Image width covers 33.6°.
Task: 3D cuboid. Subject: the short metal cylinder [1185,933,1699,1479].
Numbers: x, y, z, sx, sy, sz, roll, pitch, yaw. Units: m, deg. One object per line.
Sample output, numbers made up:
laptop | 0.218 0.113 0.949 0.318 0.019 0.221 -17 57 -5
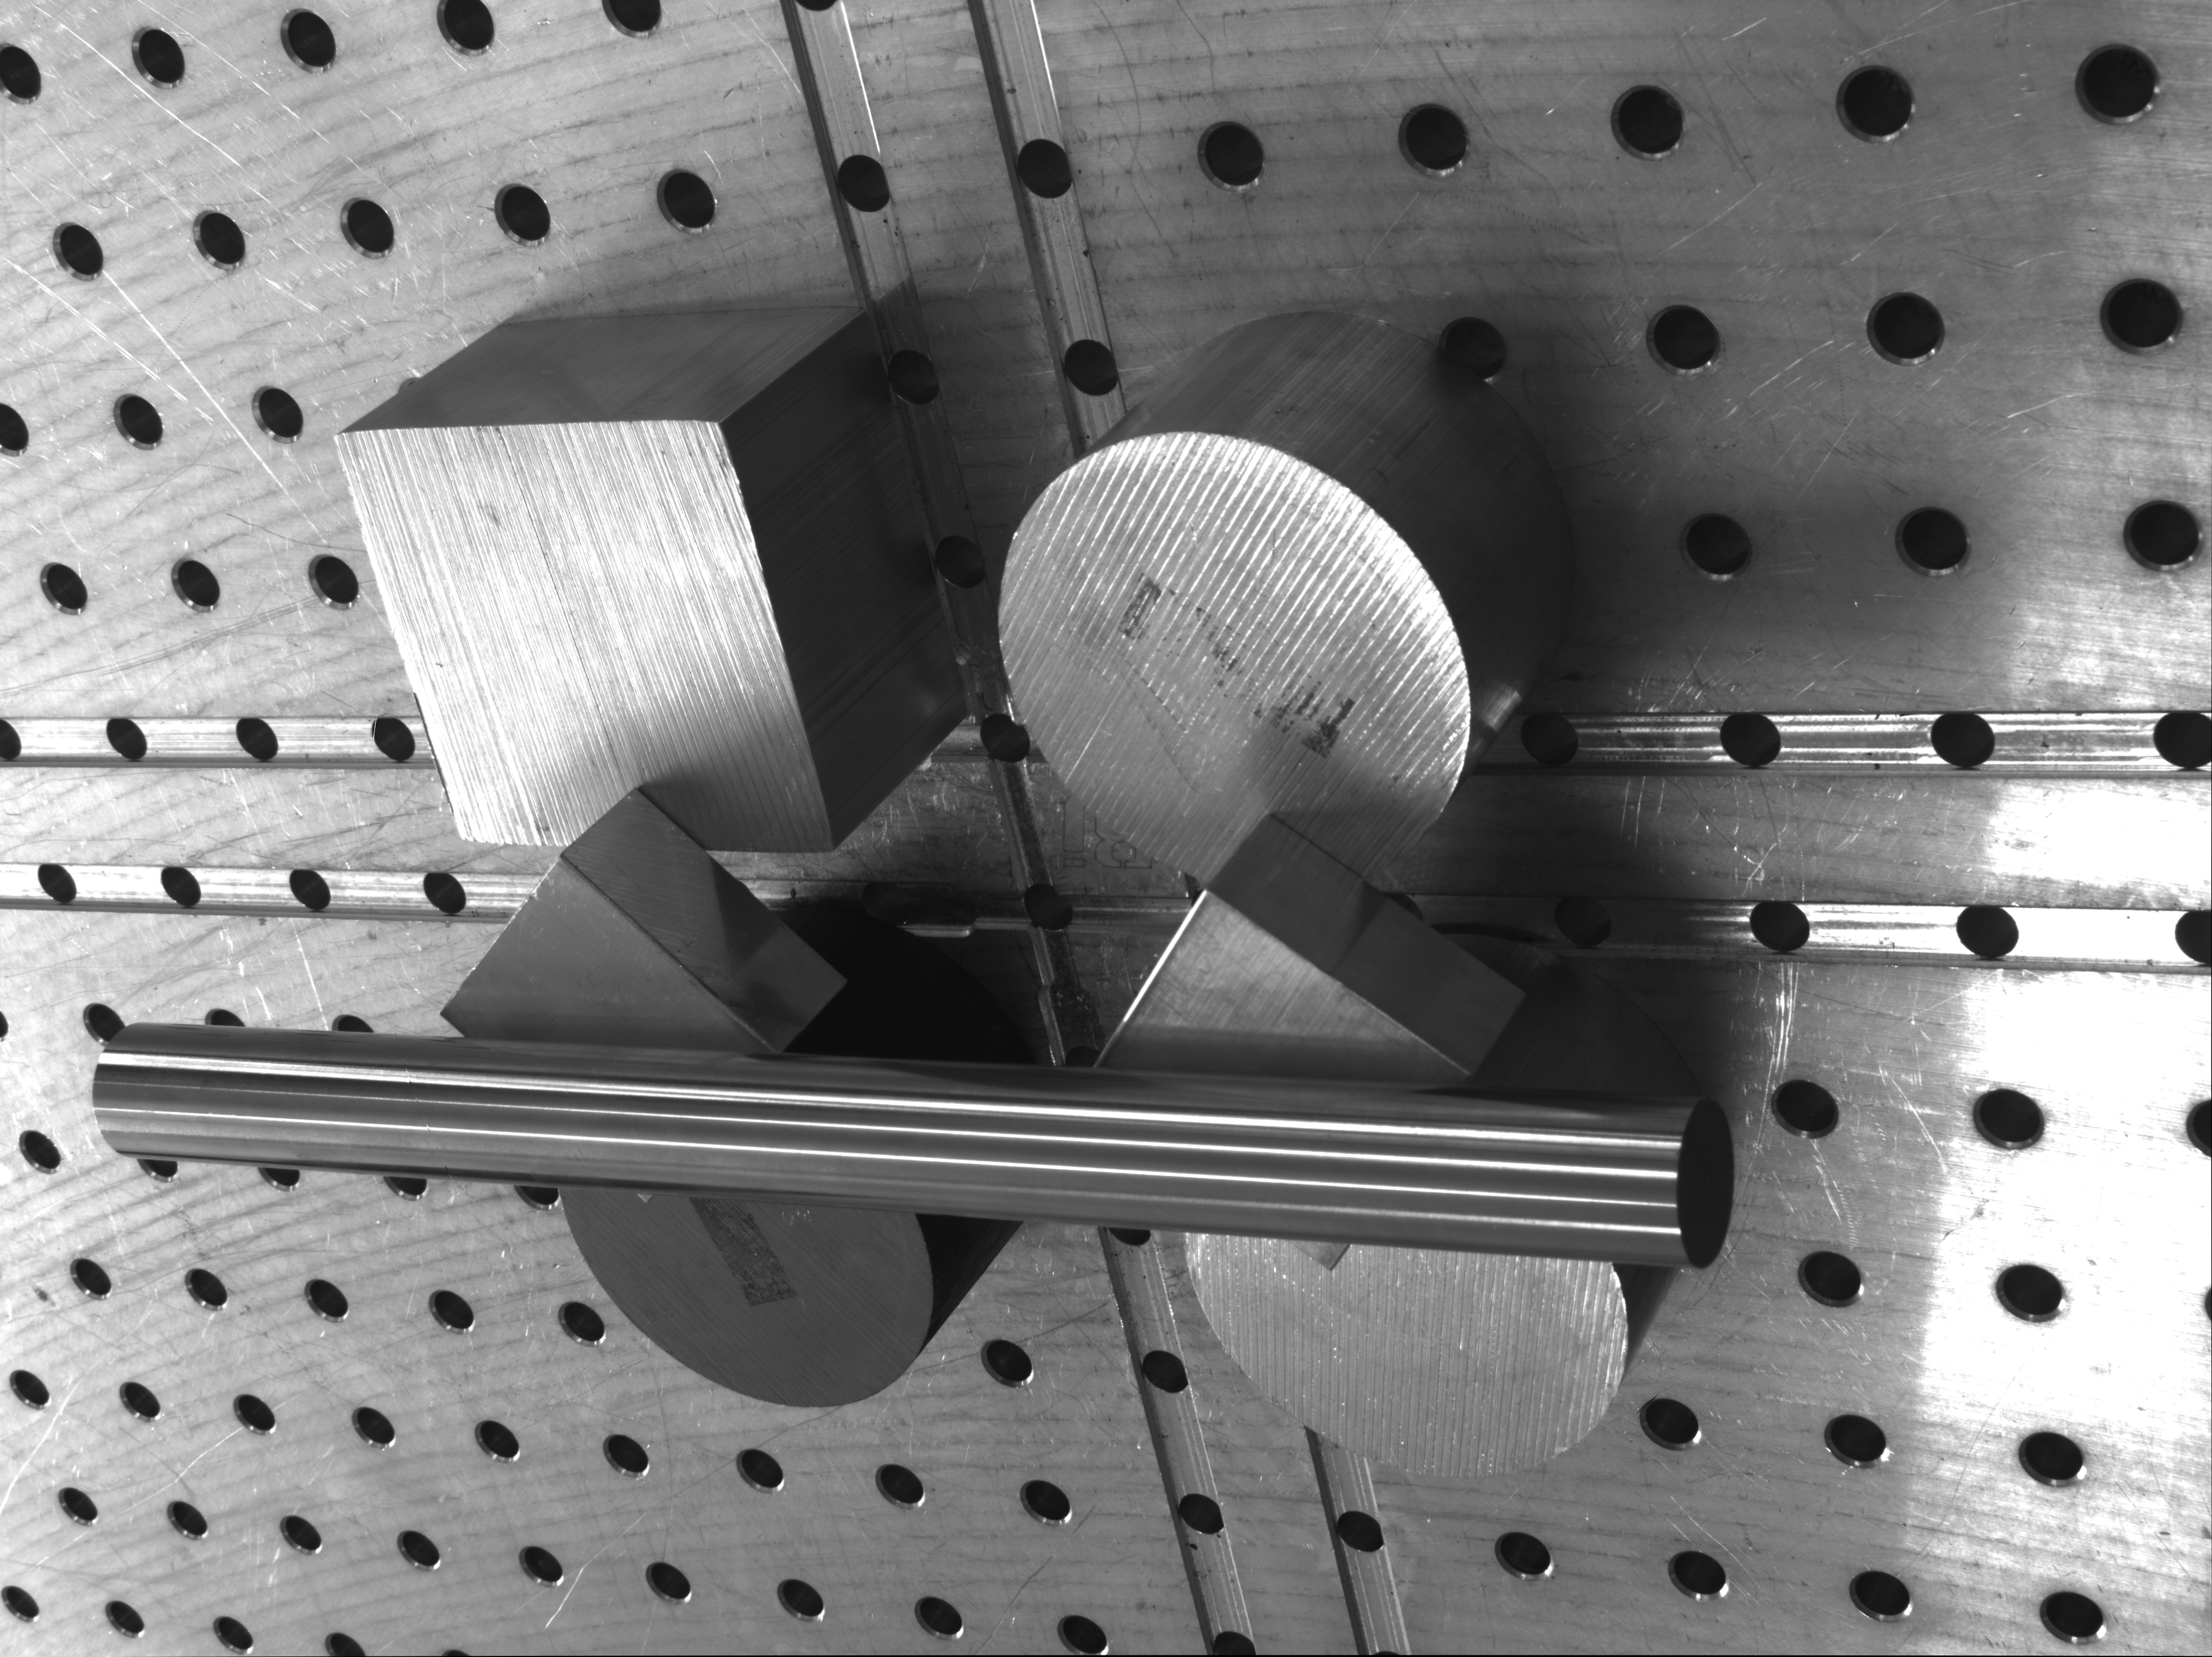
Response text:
short metal cylinder | 0.060 0.065 0.637 0.080 0.050 0.080 13 124 21

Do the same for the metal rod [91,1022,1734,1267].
metal rod | -0.045 0.050 0.603 0.299 0.025 0.025 1 119 28

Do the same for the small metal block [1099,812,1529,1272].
small metal block | 0.031 0.034 0.586 0.050 0.025 0.050 35 129 5

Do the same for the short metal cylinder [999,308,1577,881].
short metal cylinder | 0.030 -0.037 0.591 0.080 0.050 0.080 13 124 21

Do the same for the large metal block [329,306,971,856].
large metal block | -0.079 -0.043 0.644 0.080 0.050 0.080 1 119 28

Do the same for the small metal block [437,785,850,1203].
small metal block | -0.081 0.029 0.643 0.050 0.025 0.050 42 129 -1

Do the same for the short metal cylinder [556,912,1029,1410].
short metal cylinder | -0.057 0.063 0.697 0.080 0.050 0.080 13 124 21
